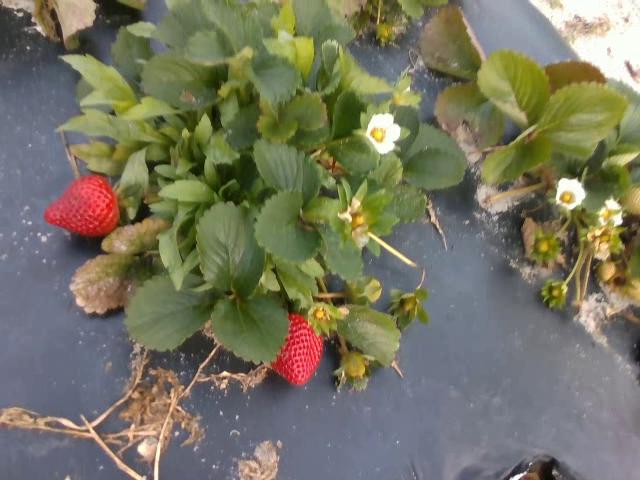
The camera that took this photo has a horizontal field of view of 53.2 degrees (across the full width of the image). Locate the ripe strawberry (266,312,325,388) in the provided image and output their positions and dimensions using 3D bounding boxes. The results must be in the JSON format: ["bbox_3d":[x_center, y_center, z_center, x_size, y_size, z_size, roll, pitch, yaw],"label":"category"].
[{"bbox_3d":[-0.017,0.072,0.406,0.043,0.046,0.047,-15,-39,-2],"label":"ripe strawberry"}]

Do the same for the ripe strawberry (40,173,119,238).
[{"bbox_3d":[-0.152,-0.019,0.407,0.050,0.043,0.043,-25,-10,-29],"label":"ripe strawberry"}]
